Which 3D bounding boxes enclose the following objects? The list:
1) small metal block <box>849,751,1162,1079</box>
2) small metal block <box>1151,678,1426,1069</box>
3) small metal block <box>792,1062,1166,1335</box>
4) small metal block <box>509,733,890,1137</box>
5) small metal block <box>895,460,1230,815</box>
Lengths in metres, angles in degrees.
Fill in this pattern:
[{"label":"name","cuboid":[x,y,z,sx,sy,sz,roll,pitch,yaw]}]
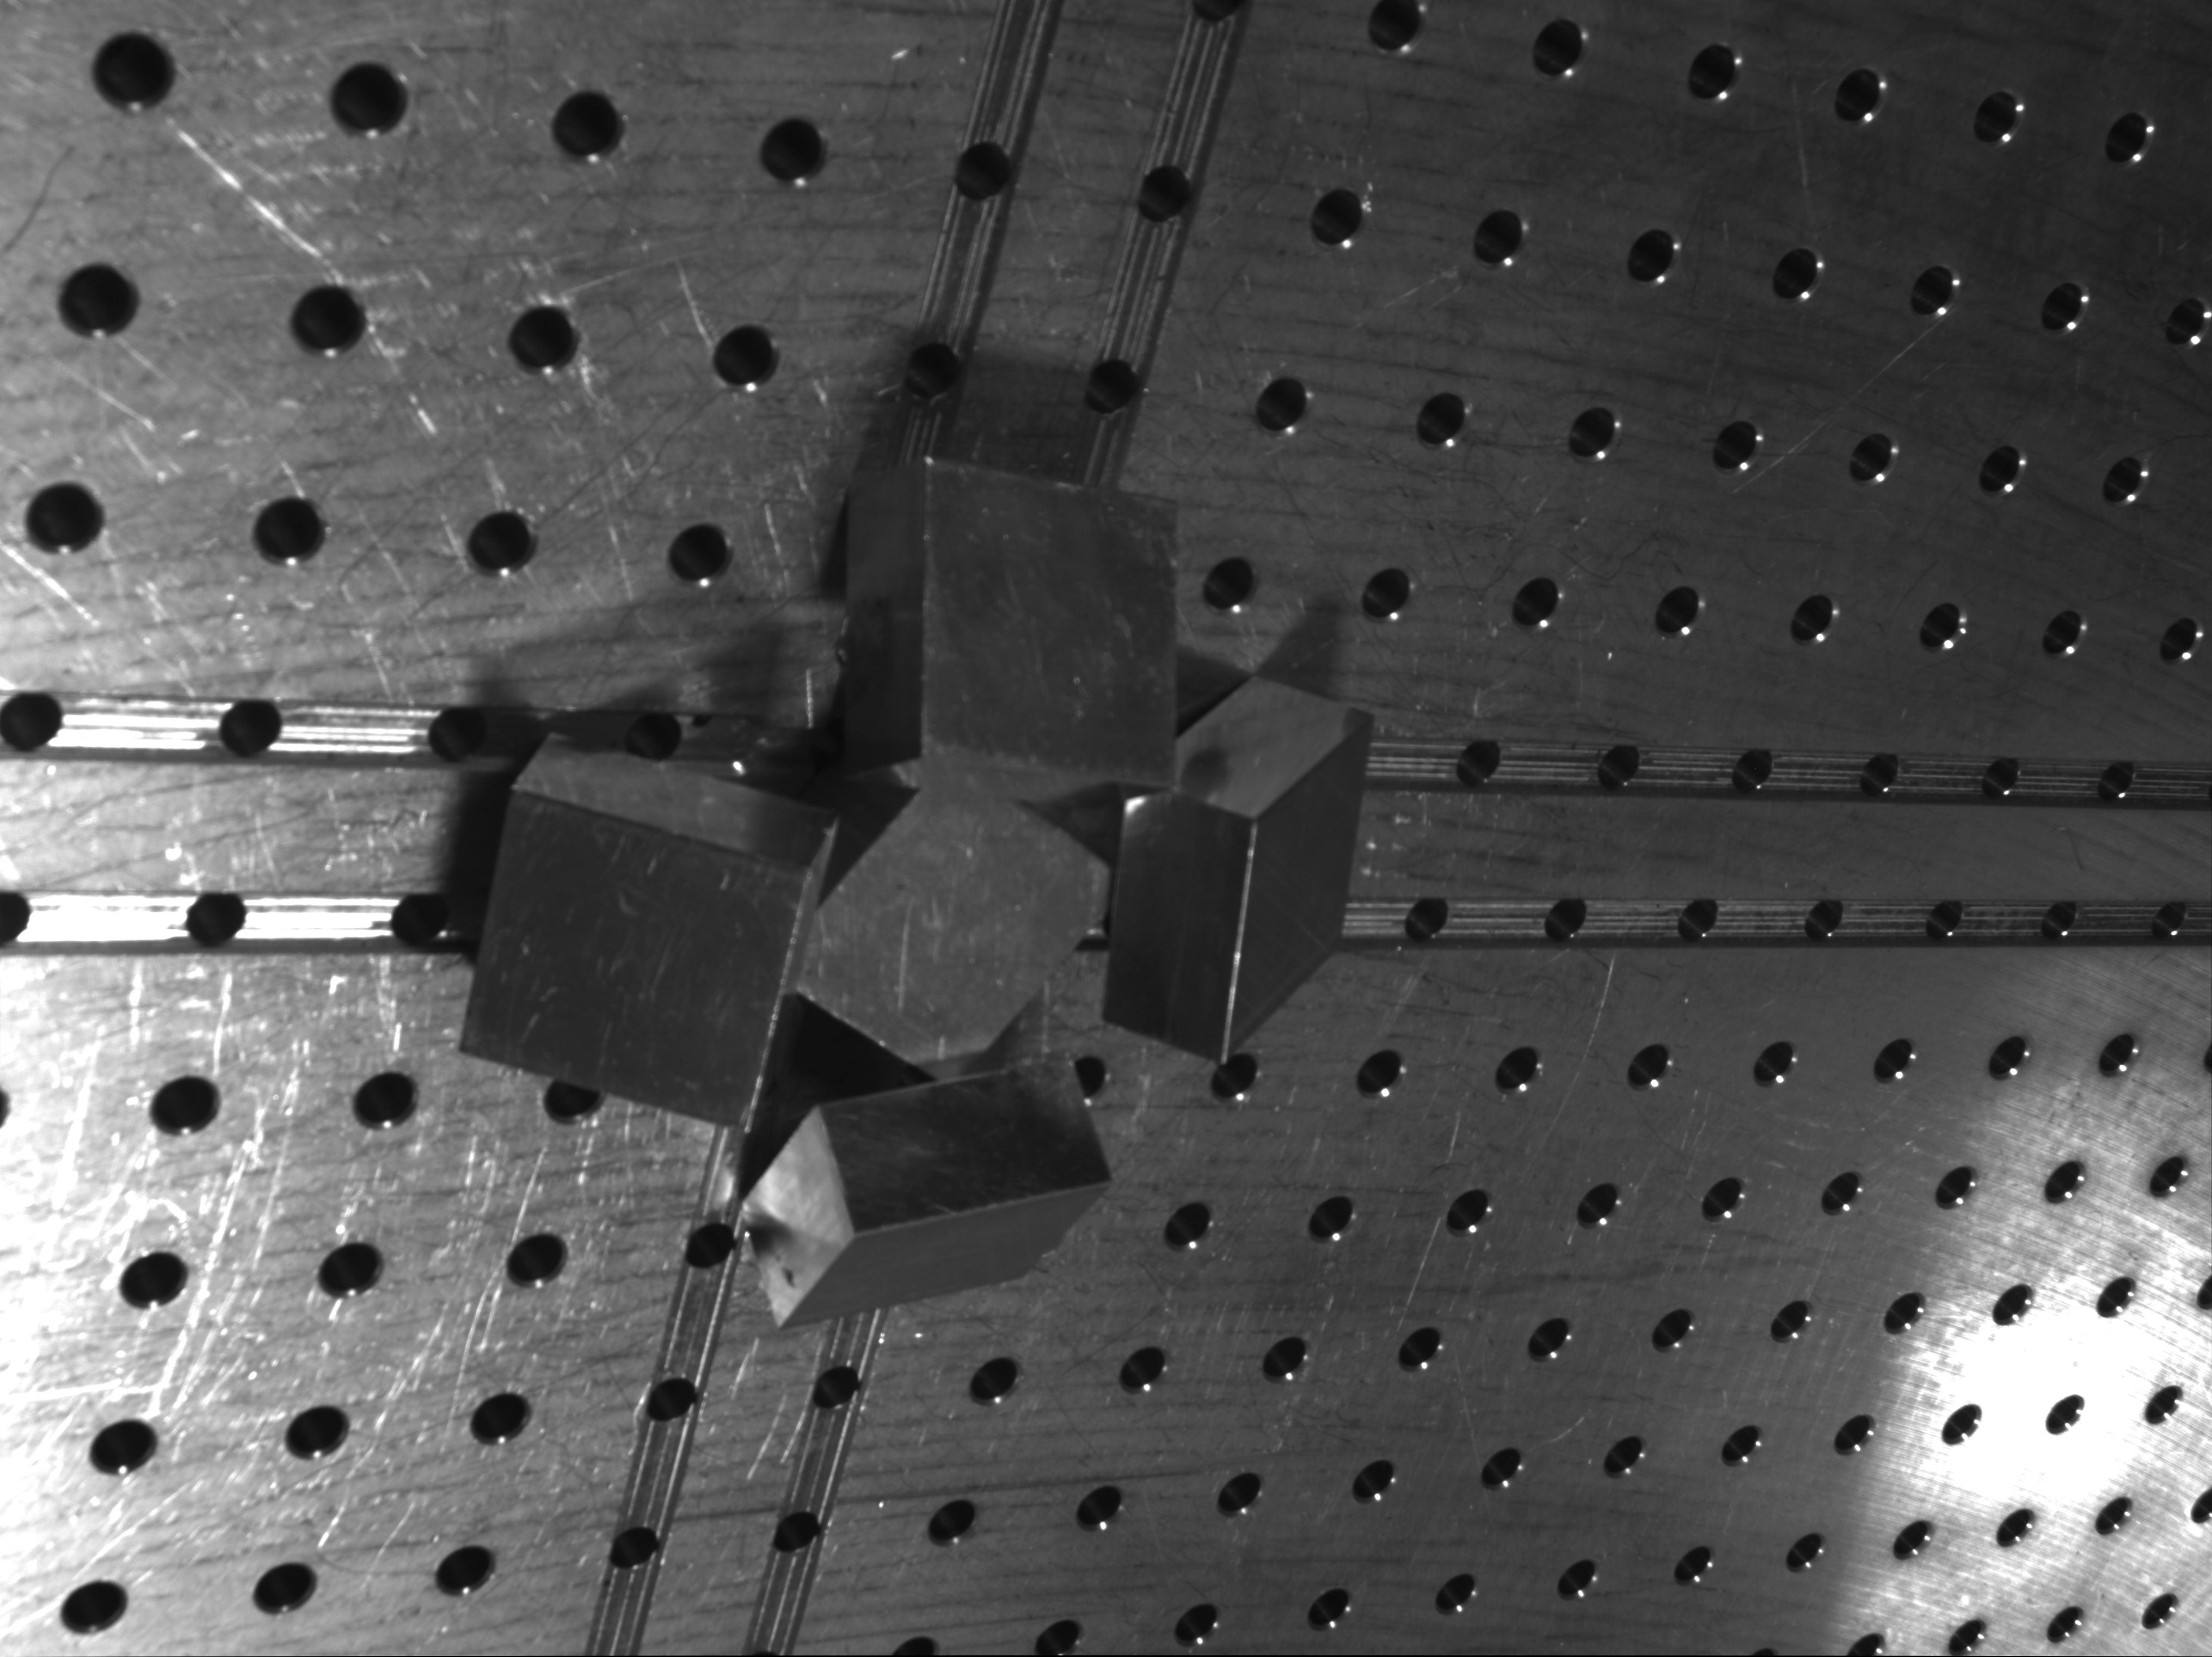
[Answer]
[{"label":"small metal block","cuboid":[-0.023,0.012,0.647,0.050,0.025,0.050,-49,130,5]},{"label":"small metal block","cuboid":[0.033,0.008,0.662,0.050,0.025,0.050,-39,142,-52]},{"label":"small metal block","cuboid":[-0.024,0.067,0.665,0.050,0.025,0.050,-9,158,-26]},{"label":"small metal block","cuboid":[-0.068,0.018,0.610,0.050,0.025,0.050,16,114,1]},{"label":"small metal block","cuboid":[-0.007,-0.031,0.614,0.050,0.025,0.050,7,79,-33]}]
